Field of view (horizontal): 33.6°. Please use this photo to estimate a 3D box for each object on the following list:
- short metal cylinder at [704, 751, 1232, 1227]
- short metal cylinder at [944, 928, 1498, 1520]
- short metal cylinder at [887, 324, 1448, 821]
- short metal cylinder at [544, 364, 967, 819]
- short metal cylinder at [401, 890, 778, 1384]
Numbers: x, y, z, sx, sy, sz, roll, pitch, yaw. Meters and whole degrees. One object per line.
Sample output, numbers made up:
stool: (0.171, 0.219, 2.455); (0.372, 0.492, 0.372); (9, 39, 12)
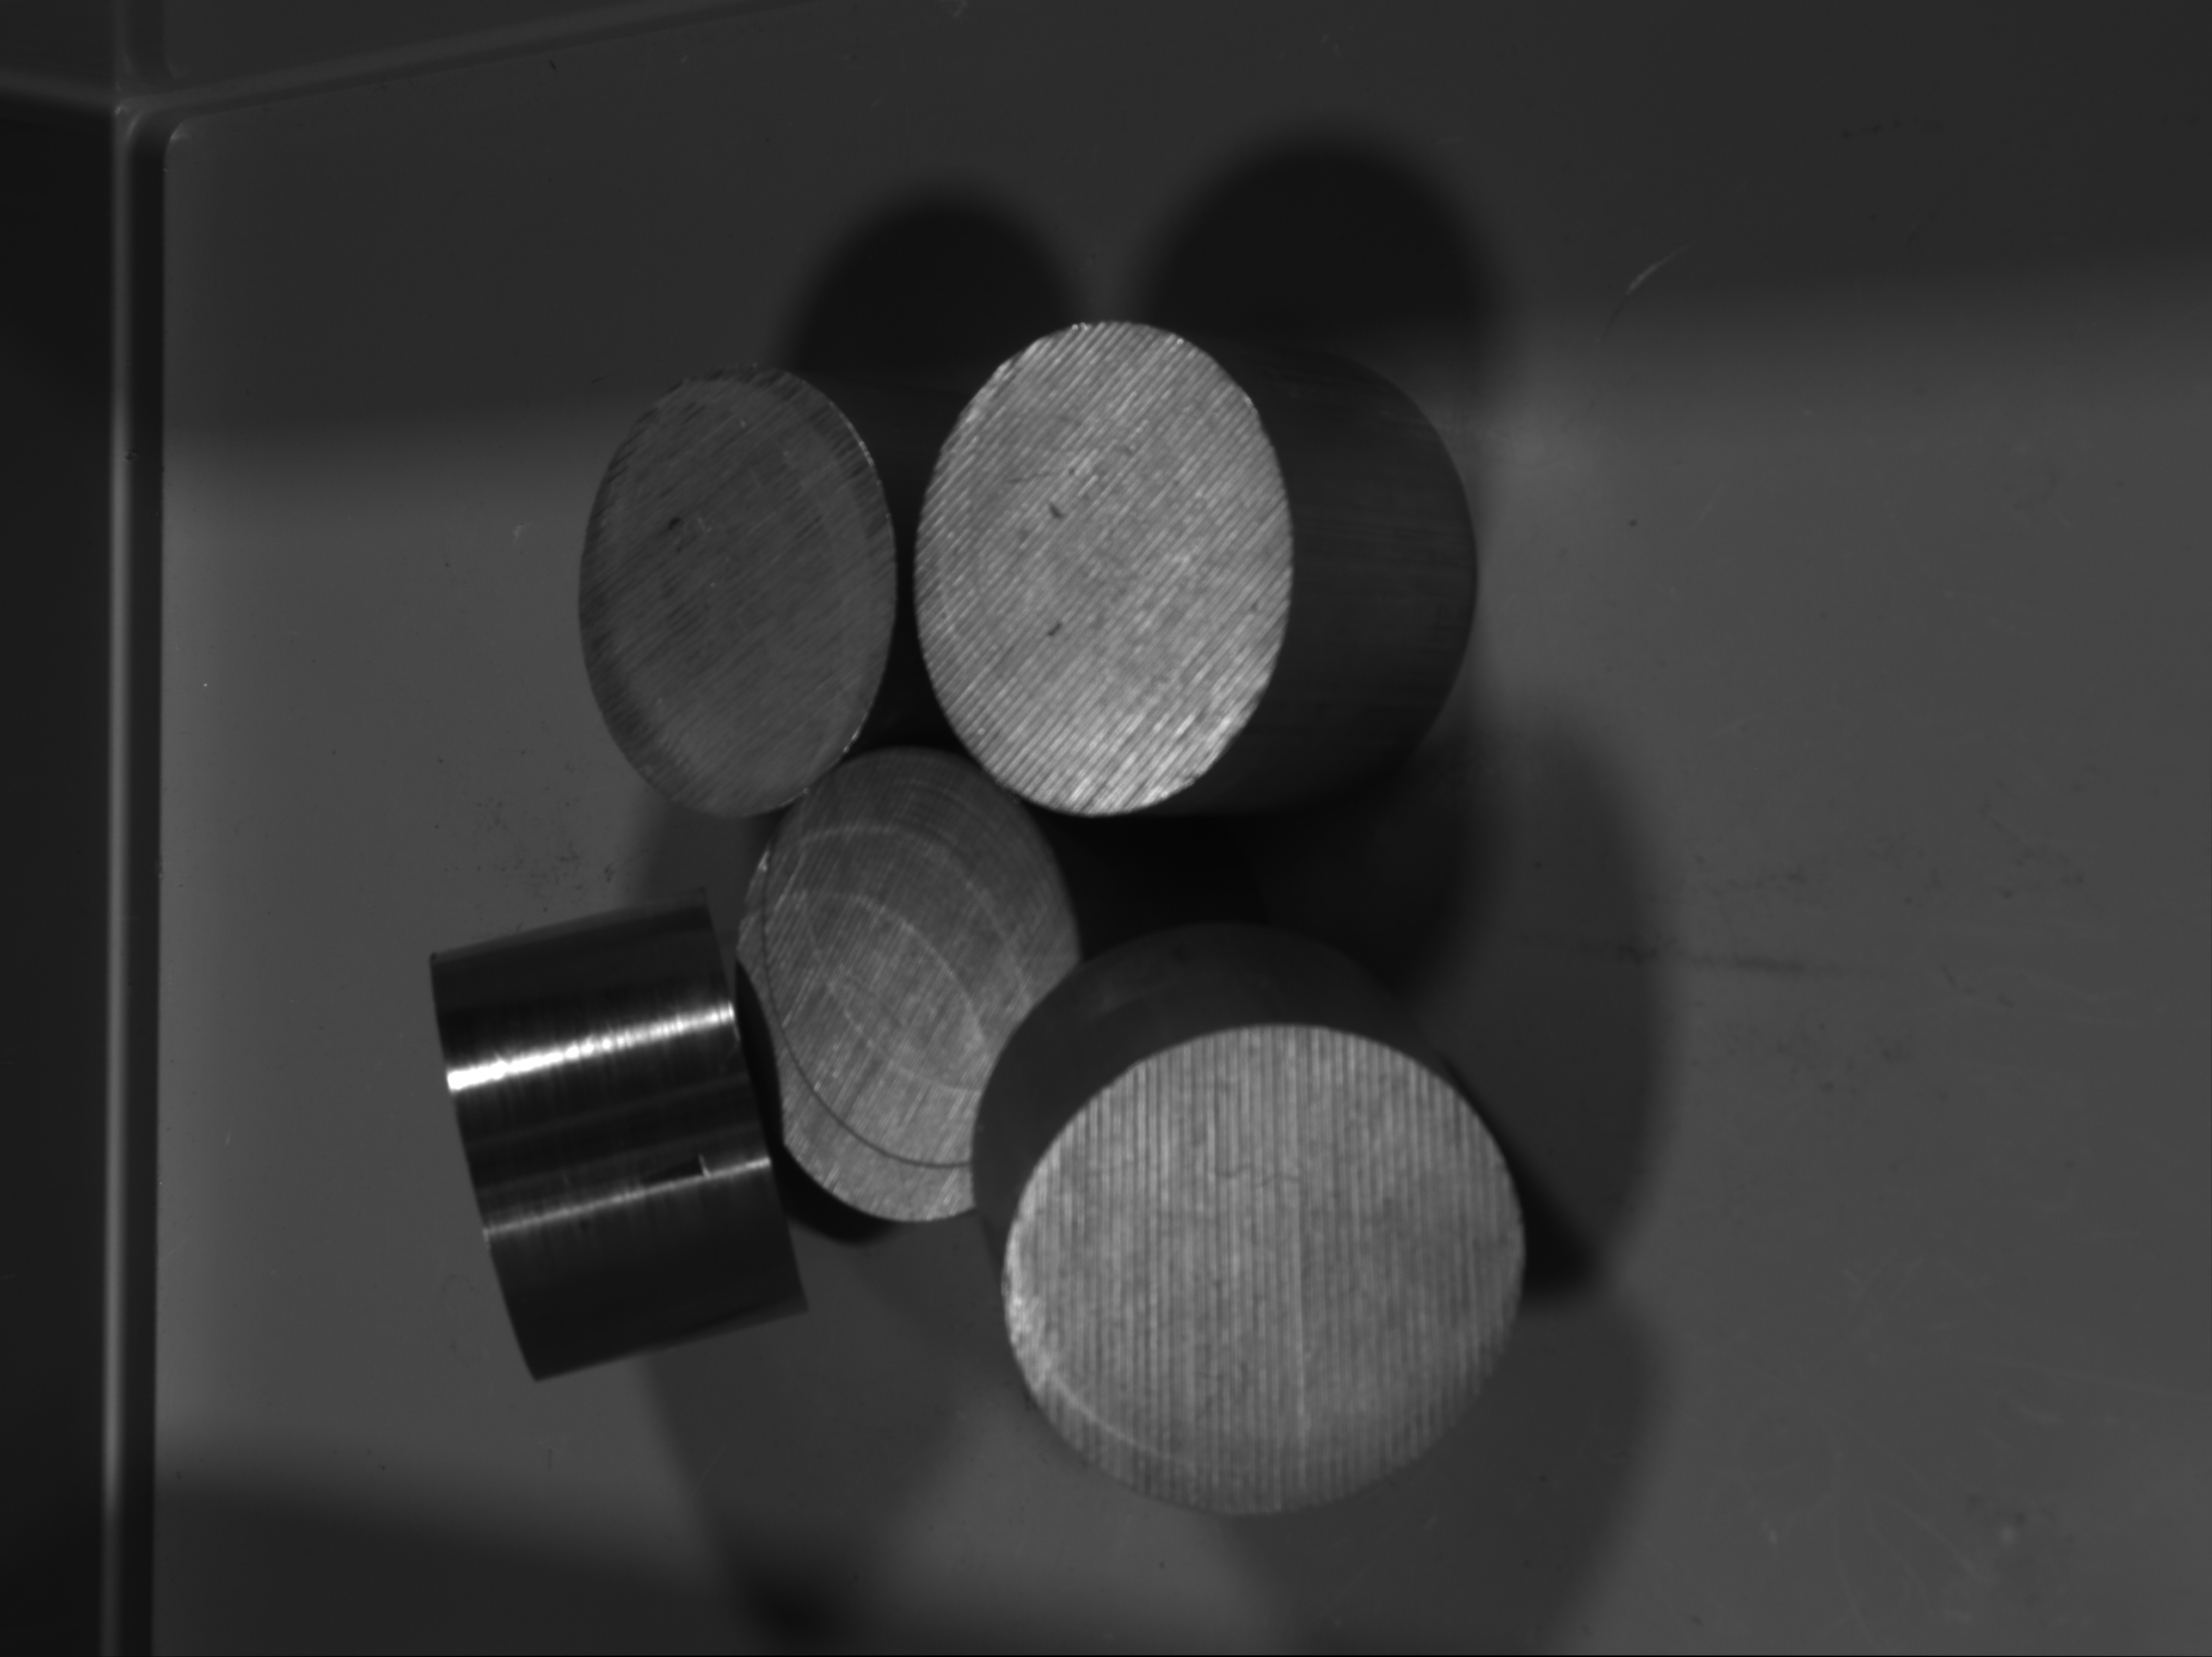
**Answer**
short metal cylinder: (-0.024, 0.027, 0.636); (0.080, 0.050, 0.080); (0, 90, 39)
short metal cylinder: (0.017, 0.061, 0.577); (0.050, 0.080, 0.080); (-120, 45, -72)
short metal cylinder: (0.010, -0.041, 0.611); (0.080, 0.050, 0.080); (0, 90, 39)
short metal cylinder: (-0.056, -0.042, 0.663); (0.080, 0.050, 0.080); (0, 90, 39)
short metal cylinder: (-0.094, 0.056, 0.669); (0.050, 0.080, 0.080); (-14, 77, -6)
